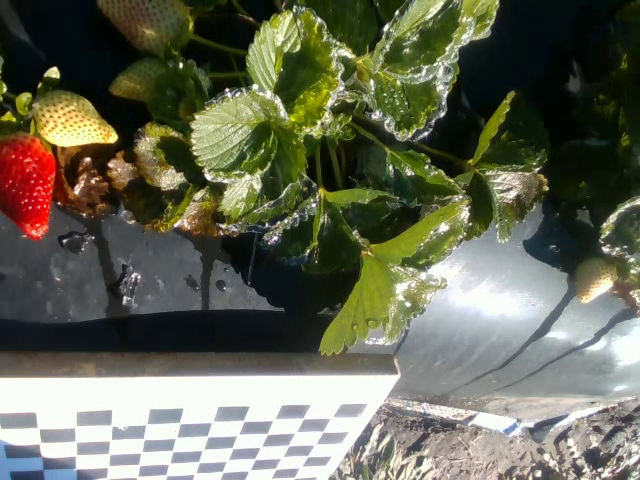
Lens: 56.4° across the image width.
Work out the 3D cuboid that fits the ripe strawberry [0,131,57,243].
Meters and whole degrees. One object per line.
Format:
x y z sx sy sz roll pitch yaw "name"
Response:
-0.138 -0.022 0.271 0.040 0.053 0.042 -23 -15 6 "ripe strawberry"
